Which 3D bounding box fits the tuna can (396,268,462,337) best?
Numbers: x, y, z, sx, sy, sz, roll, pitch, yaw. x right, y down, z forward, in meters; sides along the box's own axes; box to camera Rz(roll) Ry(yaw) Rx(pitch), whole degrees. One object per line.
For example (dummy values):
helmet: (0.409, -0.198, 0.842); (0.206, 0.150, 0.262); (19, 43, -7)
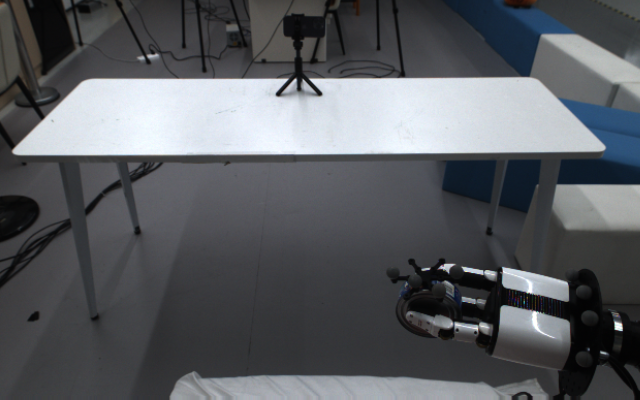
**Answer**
tuna can: (0.148, 0.141, 0.644); (0.085, 0.085, 0.034); (10, 32, 11)
